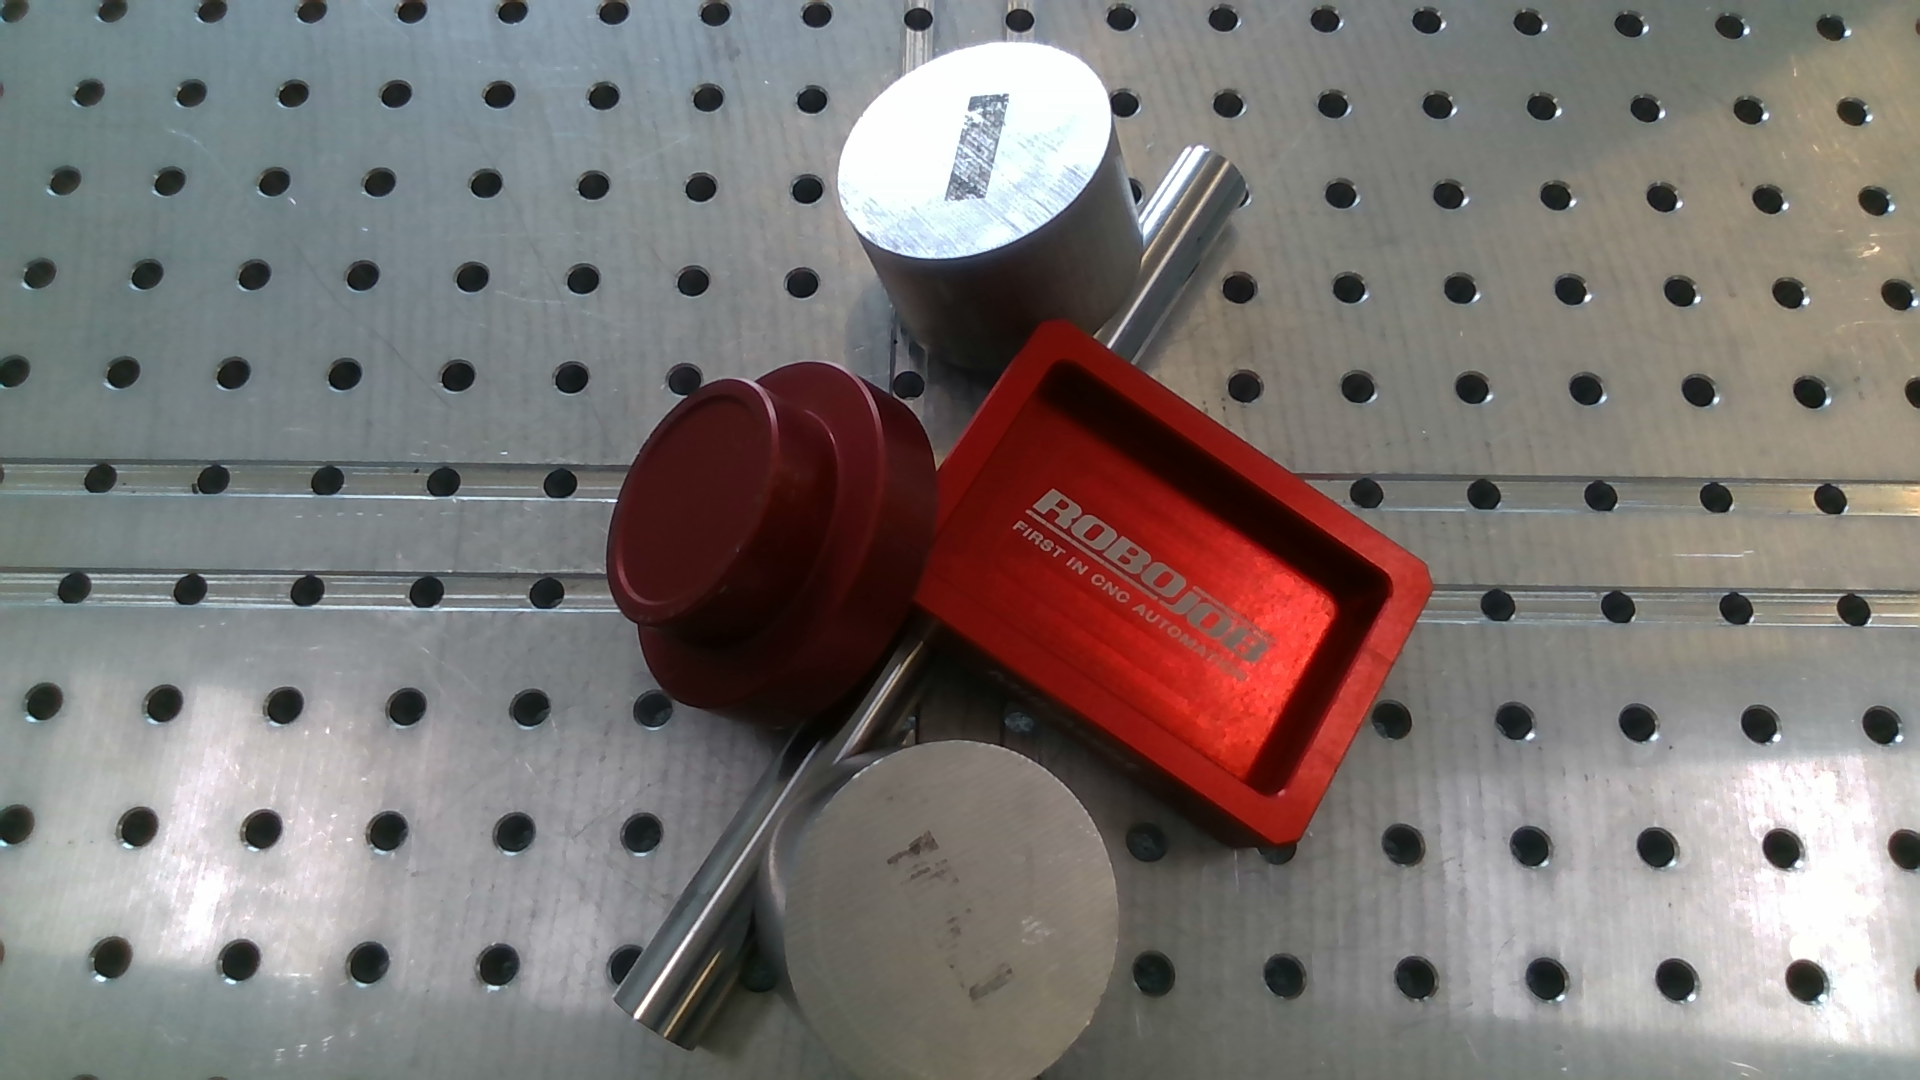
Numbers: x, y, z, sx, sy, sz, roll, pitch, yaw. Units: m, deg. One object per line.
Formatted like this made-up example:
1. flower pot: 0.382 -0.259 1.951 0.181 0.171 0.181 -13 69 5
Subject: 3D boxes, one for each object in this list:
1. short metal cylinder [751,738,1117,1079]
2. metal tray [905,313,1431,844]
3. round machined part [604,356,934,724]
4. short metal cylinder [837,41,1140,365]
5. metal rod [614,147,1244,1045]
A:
1. short metal cylinder: -0.008 0.090 0.340 0.080 0.050 0.080 3 81 -16
2. metal tray: 0.052 0.011 0.376 0.130 0.030 0.090 34 73 -3
3. round machined part: -0.056 -0.004 0.362 0.098 0.042 0.098 -23 55 37
4. short metal cylinder: 0.010 -0.099 0.408 0.080 0.050 0.080 -8 59 14
5. metal rod: 0.001 0.003 0.397 0.025 0.025 0.299 30 73 10
